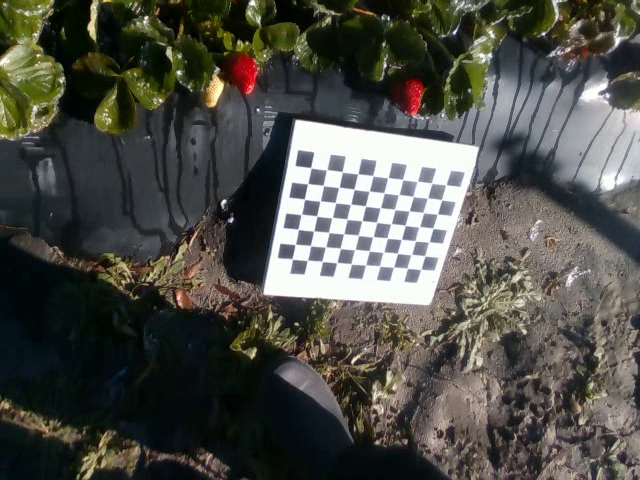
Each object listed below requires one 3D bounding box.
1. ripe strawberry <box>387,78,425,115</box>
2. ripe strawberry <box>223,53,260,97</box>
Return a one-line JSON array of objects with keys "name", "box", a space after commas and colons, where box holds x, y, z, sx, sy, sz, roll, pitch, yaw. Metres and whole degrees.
[{"name": "ripe strawberry", "box": [0.123, -0.196, 0.860, 0.048, 0.061, 0.044, -1, -8, -15]}, {"name": "ripe strawberry", "box": [-0.097, -0.207, 0.799, 0.042, 0.061, 0.046, -8, -16, -12]}]
